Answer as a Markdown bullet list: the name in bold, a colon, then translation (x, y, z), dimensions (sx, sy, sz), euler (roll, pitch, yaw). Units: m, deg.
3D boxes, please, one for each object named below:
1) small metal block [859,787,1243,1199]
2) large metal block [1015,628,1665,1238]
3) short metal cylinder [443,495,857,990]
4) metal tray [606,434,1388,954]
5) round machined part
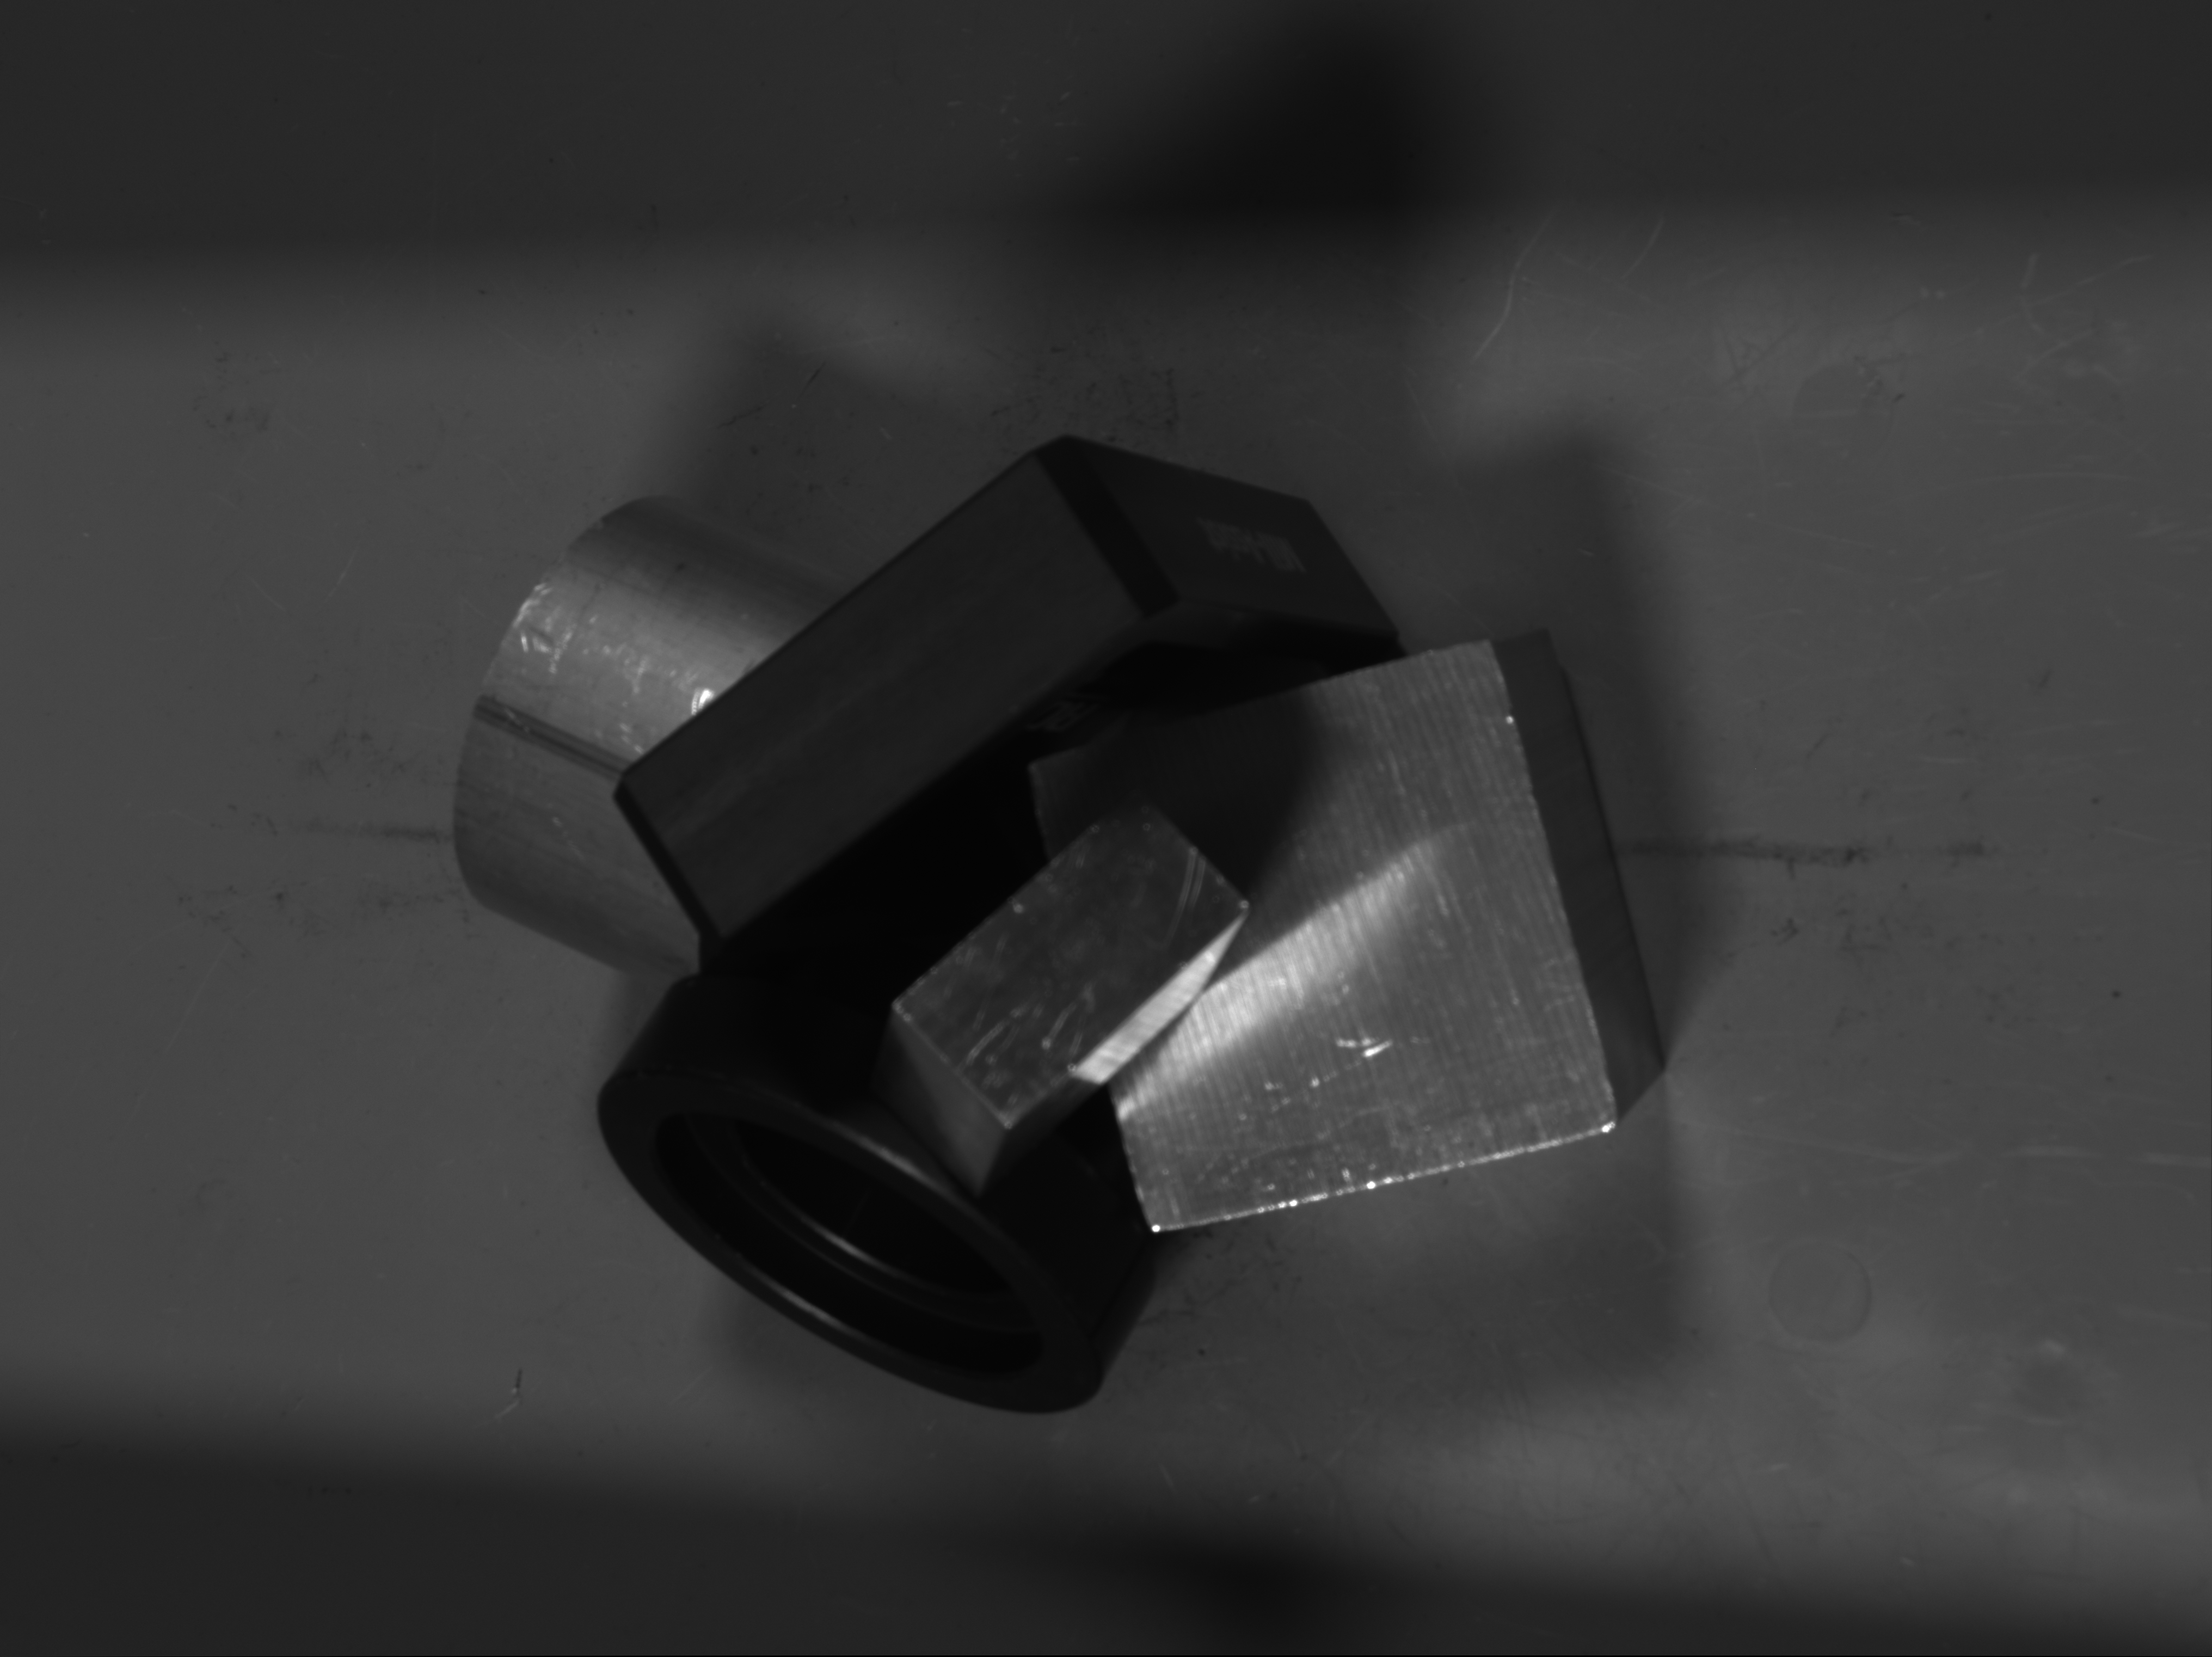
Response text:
- **small metal block**: translation (-0.009, 0.026, 0.561), dimensions (0.050, 0.050, 0.025), euler (-42, 82, -18)
- **large metal block**: translation (0.040, 0.016, 0.608), dimensions (0.080, 0.050, 0.080), euler (-15, 89, 19)
- **short metal cylinder**: translation (-0.071, -0.012, 0.639), dimensions (0.050, 0.080, 0.080), euler (24, 98, 18)
- **metal tray**: translation (-0.013, -0.019, 0.592), dimensions (0.090, 0.130, 0.030), euler (-37, 79, 16)
- **round machined part**: translation (-0.036, 0.055, 0.627), dimensions (0.098, 0.098, 0.042), euler (22, 61, 18)
